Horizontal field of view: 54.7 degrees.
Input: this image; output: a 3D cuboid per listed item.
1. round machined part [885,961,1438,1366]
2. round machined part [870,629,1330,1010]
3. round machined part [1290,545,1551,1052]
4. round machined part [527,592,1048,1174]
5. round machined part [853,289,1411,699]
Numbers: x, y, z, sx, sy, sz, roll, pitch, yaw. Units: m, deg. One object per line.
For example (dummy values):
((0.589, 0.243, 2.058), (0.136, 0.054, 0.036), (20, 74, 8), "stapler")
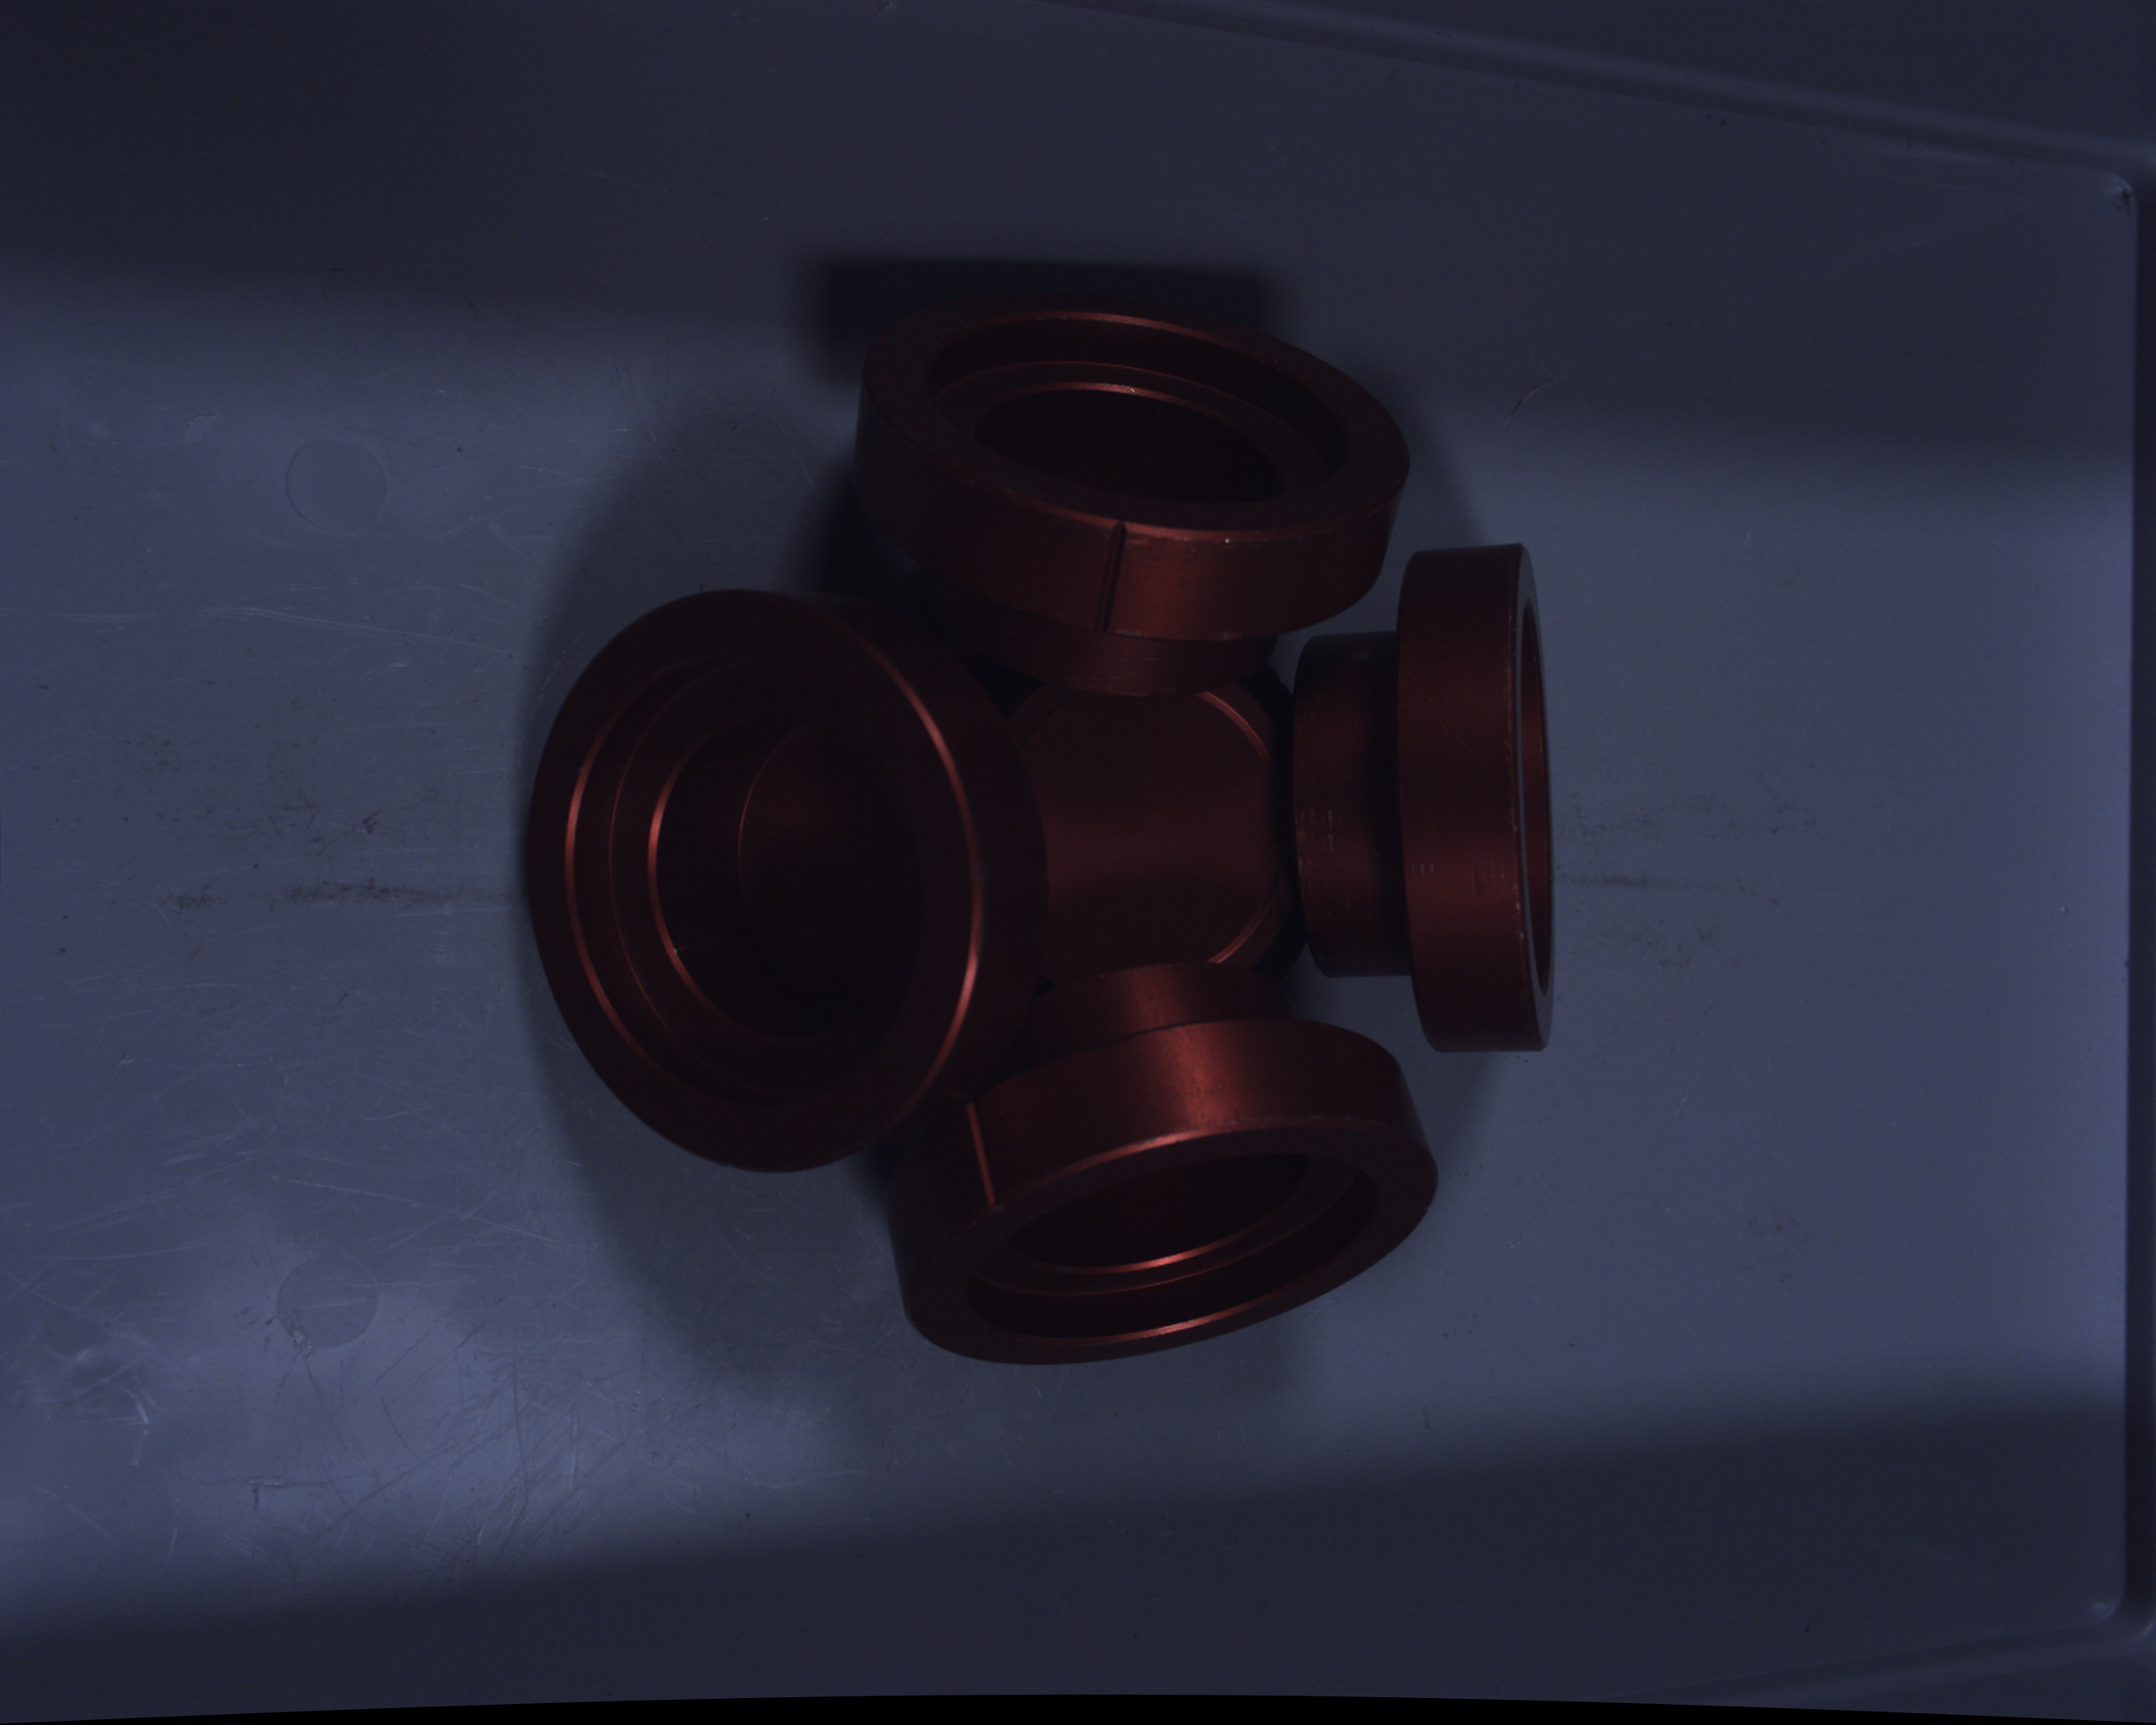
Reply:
((0.013, 0.054, 0.385), (0.099, 0.097, 0.042), (-1, 55, -20), "round machined part")
((0.005, -0.006, 0.402), (0.099, 0.042, 0.097), (0, 90, -21), "round machined part")
((0.068, -0.012, 0.407), (0.042, 0.098, 0.097), (-2, 91, 16), "round machined part")
((-0.046, 0.002, 0.364), (0.042, 0.098, 0.097), (-10, 95, -58), "round machined part")
((0.008, -0.066, 0.384), (0.099, 0.098, 0.042), (-4, 129, -20), "round machined part")
